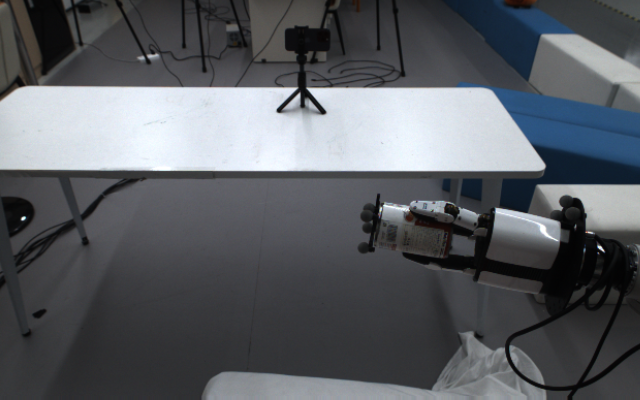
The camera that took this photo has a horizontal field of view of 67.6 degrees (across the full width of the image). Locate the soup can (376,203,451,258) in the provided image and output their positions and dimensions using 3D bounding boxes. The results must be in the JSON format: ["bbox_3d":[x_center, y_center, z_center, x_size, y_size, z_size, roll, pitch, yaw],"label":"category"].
[{"bbox_3d":[0.134,0.042,0.684,0.101,0.067,0.067,9,35,9],"label":"soup can"}]
